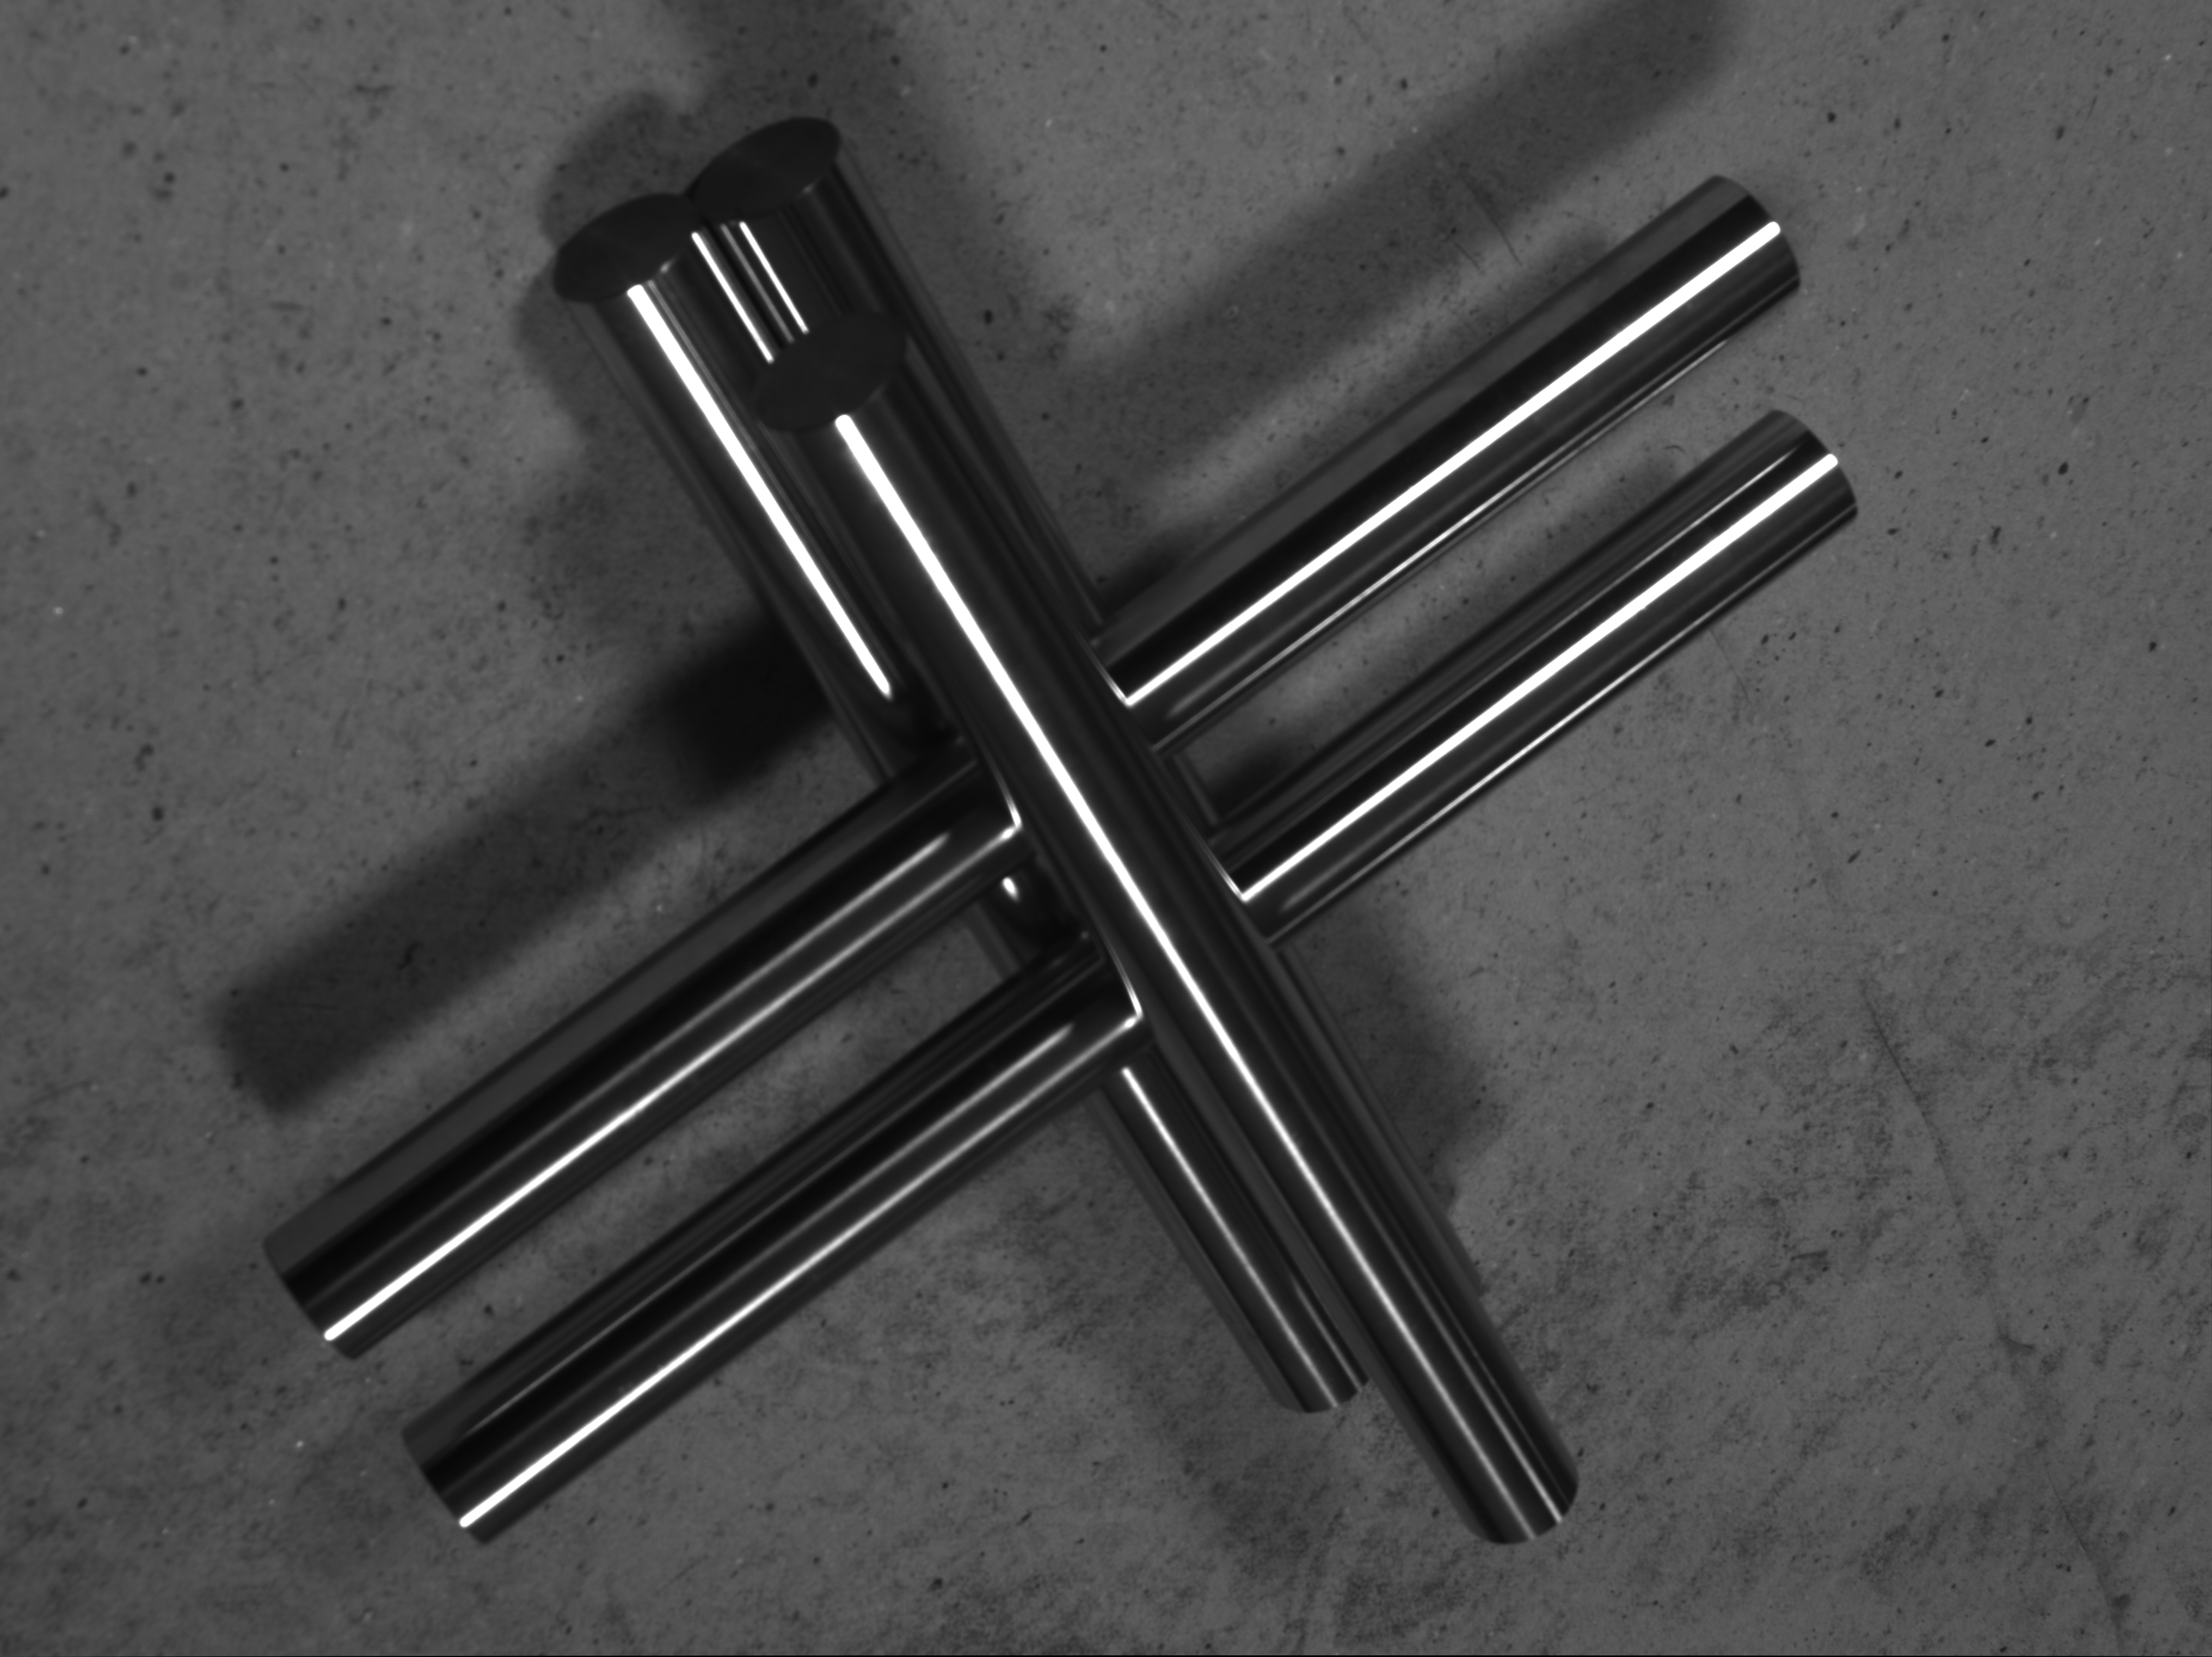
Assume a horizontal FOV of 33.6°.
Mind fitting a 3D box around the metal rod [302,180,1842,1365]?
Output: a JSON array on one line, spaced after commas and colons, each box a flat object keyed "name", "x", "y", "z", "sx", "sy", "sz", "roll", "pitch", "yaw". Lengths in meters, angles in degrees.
[{"name": "metal rod", "x": -0.003, "y": -0.012, "z": 0.609, "sx": 0.300, "sy": 0.025, "sz": 0.025, "roll": -36, "pitch": 130, "yaw": -6}]

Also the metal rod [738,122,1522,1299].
[{"name": "metal rod", "x": 0.014, "y": -0.001, "z": 0.658, "sx": 0.025, "sy": 0.025, "sz": 0.301, "roll": -36, "pitch": 130, "yaw": -6}]

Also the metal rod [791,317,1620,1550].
[{"name": "metal rod", "x": 0.027, "y": 0.033, "z": 0.621, "sx": 0.025, "sy": 0.025, "sz": 0.301, "roll": -37, "pitch": 130, "yaw": -5}]

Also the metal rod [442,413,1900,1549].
[{"name": "metal rod", "x": 0.014, "y": 0.024, "z": 0.642, "sx": 0.300, "sy": 0.025, "sz": 0.025, "roll": -36, "pitch": 130, "yaw": -6}]

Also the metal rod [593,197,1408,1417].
[{"name": "metal rod", "x": -0.007, "y": 0.011, "z": 0.653, "sx": 0.025, "sy": 0.025, "sz": 0.301, "roll": -36, "pitch": 130, "yaw": -6}]
